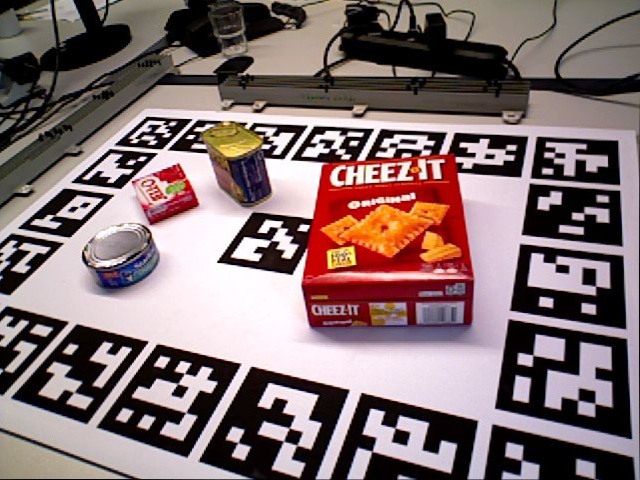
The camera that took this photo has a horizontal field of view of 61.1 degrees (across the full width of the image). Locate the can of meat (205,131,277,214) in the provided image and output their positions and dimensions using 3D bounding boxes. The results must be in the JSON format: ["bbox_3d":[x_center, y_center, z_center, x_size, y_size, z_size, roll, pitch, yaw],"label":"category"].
[{"bbox_3d":[-0.108,-0.093,0.757,0.056,0.085,0.102,-32,43,-26],"label":"can of meat"}]

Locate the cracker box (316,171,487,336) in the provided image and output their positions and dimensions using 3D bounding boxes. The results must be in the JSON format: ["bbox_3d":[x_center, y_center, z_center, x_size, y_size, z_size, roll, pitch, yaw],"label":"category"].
[{"bbox_3d":[0.083,0.006,0.602,0.164,0.073,0.209,-3,38,7],"label":"cracker box"}]

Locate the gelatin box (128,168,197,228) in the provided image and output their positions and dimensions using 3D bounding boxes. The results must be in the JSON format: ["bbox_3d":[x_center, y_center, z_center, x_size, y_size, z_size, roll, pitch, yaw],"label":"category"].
[{"bbox_3d":[-0.226,-0.063,0.778,0.072,0.031,0.089,-22,43,-19],"label":"gelatin box"}]

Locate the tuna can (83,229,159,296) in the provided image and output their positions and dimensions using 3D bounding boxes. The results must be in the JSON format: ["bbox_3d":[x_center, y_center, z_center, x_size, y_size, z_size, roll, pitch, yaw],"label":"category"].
[{"bbox_3d":[-0.243,0.027,0.666,0.086,0.034,0.084,-8,42,6],"label":"tuna can"}]
